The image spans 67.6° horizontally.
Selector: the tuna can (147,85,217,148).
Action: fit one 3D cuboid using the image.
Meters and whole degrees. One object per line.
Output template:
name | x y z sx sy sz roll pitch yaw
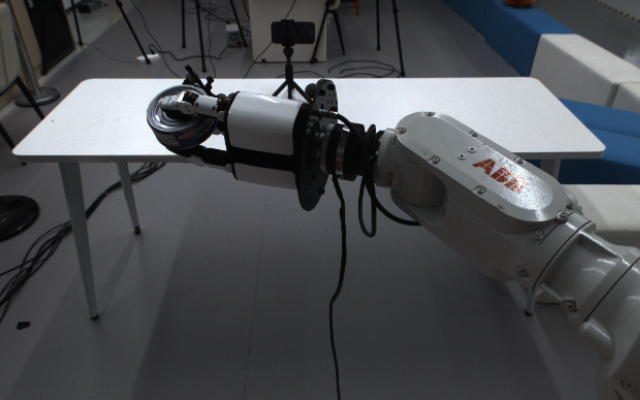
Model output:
tuna can | -0.180 -0.110 0.632 0.085 0.034 0.085 -3 58 6
